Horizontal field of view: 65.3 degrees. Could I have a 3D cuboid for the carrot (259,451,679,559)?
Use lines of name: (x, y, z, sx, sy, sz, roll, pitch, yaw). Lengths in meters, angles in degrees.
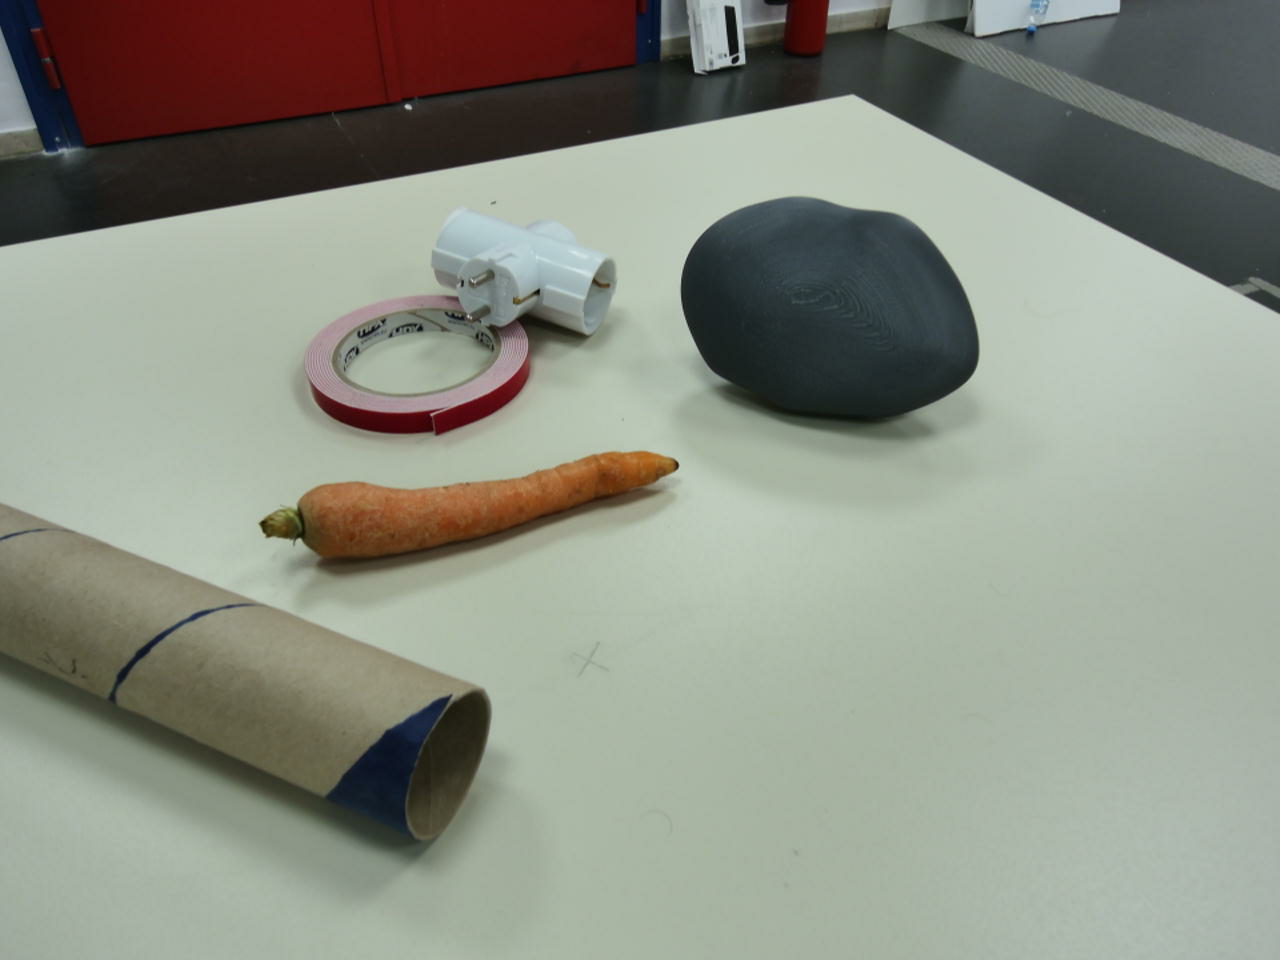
carrot: (-0.064, 0.006, 0.409, 0.173, 0.032, 0.030, -11, 39, -14)
